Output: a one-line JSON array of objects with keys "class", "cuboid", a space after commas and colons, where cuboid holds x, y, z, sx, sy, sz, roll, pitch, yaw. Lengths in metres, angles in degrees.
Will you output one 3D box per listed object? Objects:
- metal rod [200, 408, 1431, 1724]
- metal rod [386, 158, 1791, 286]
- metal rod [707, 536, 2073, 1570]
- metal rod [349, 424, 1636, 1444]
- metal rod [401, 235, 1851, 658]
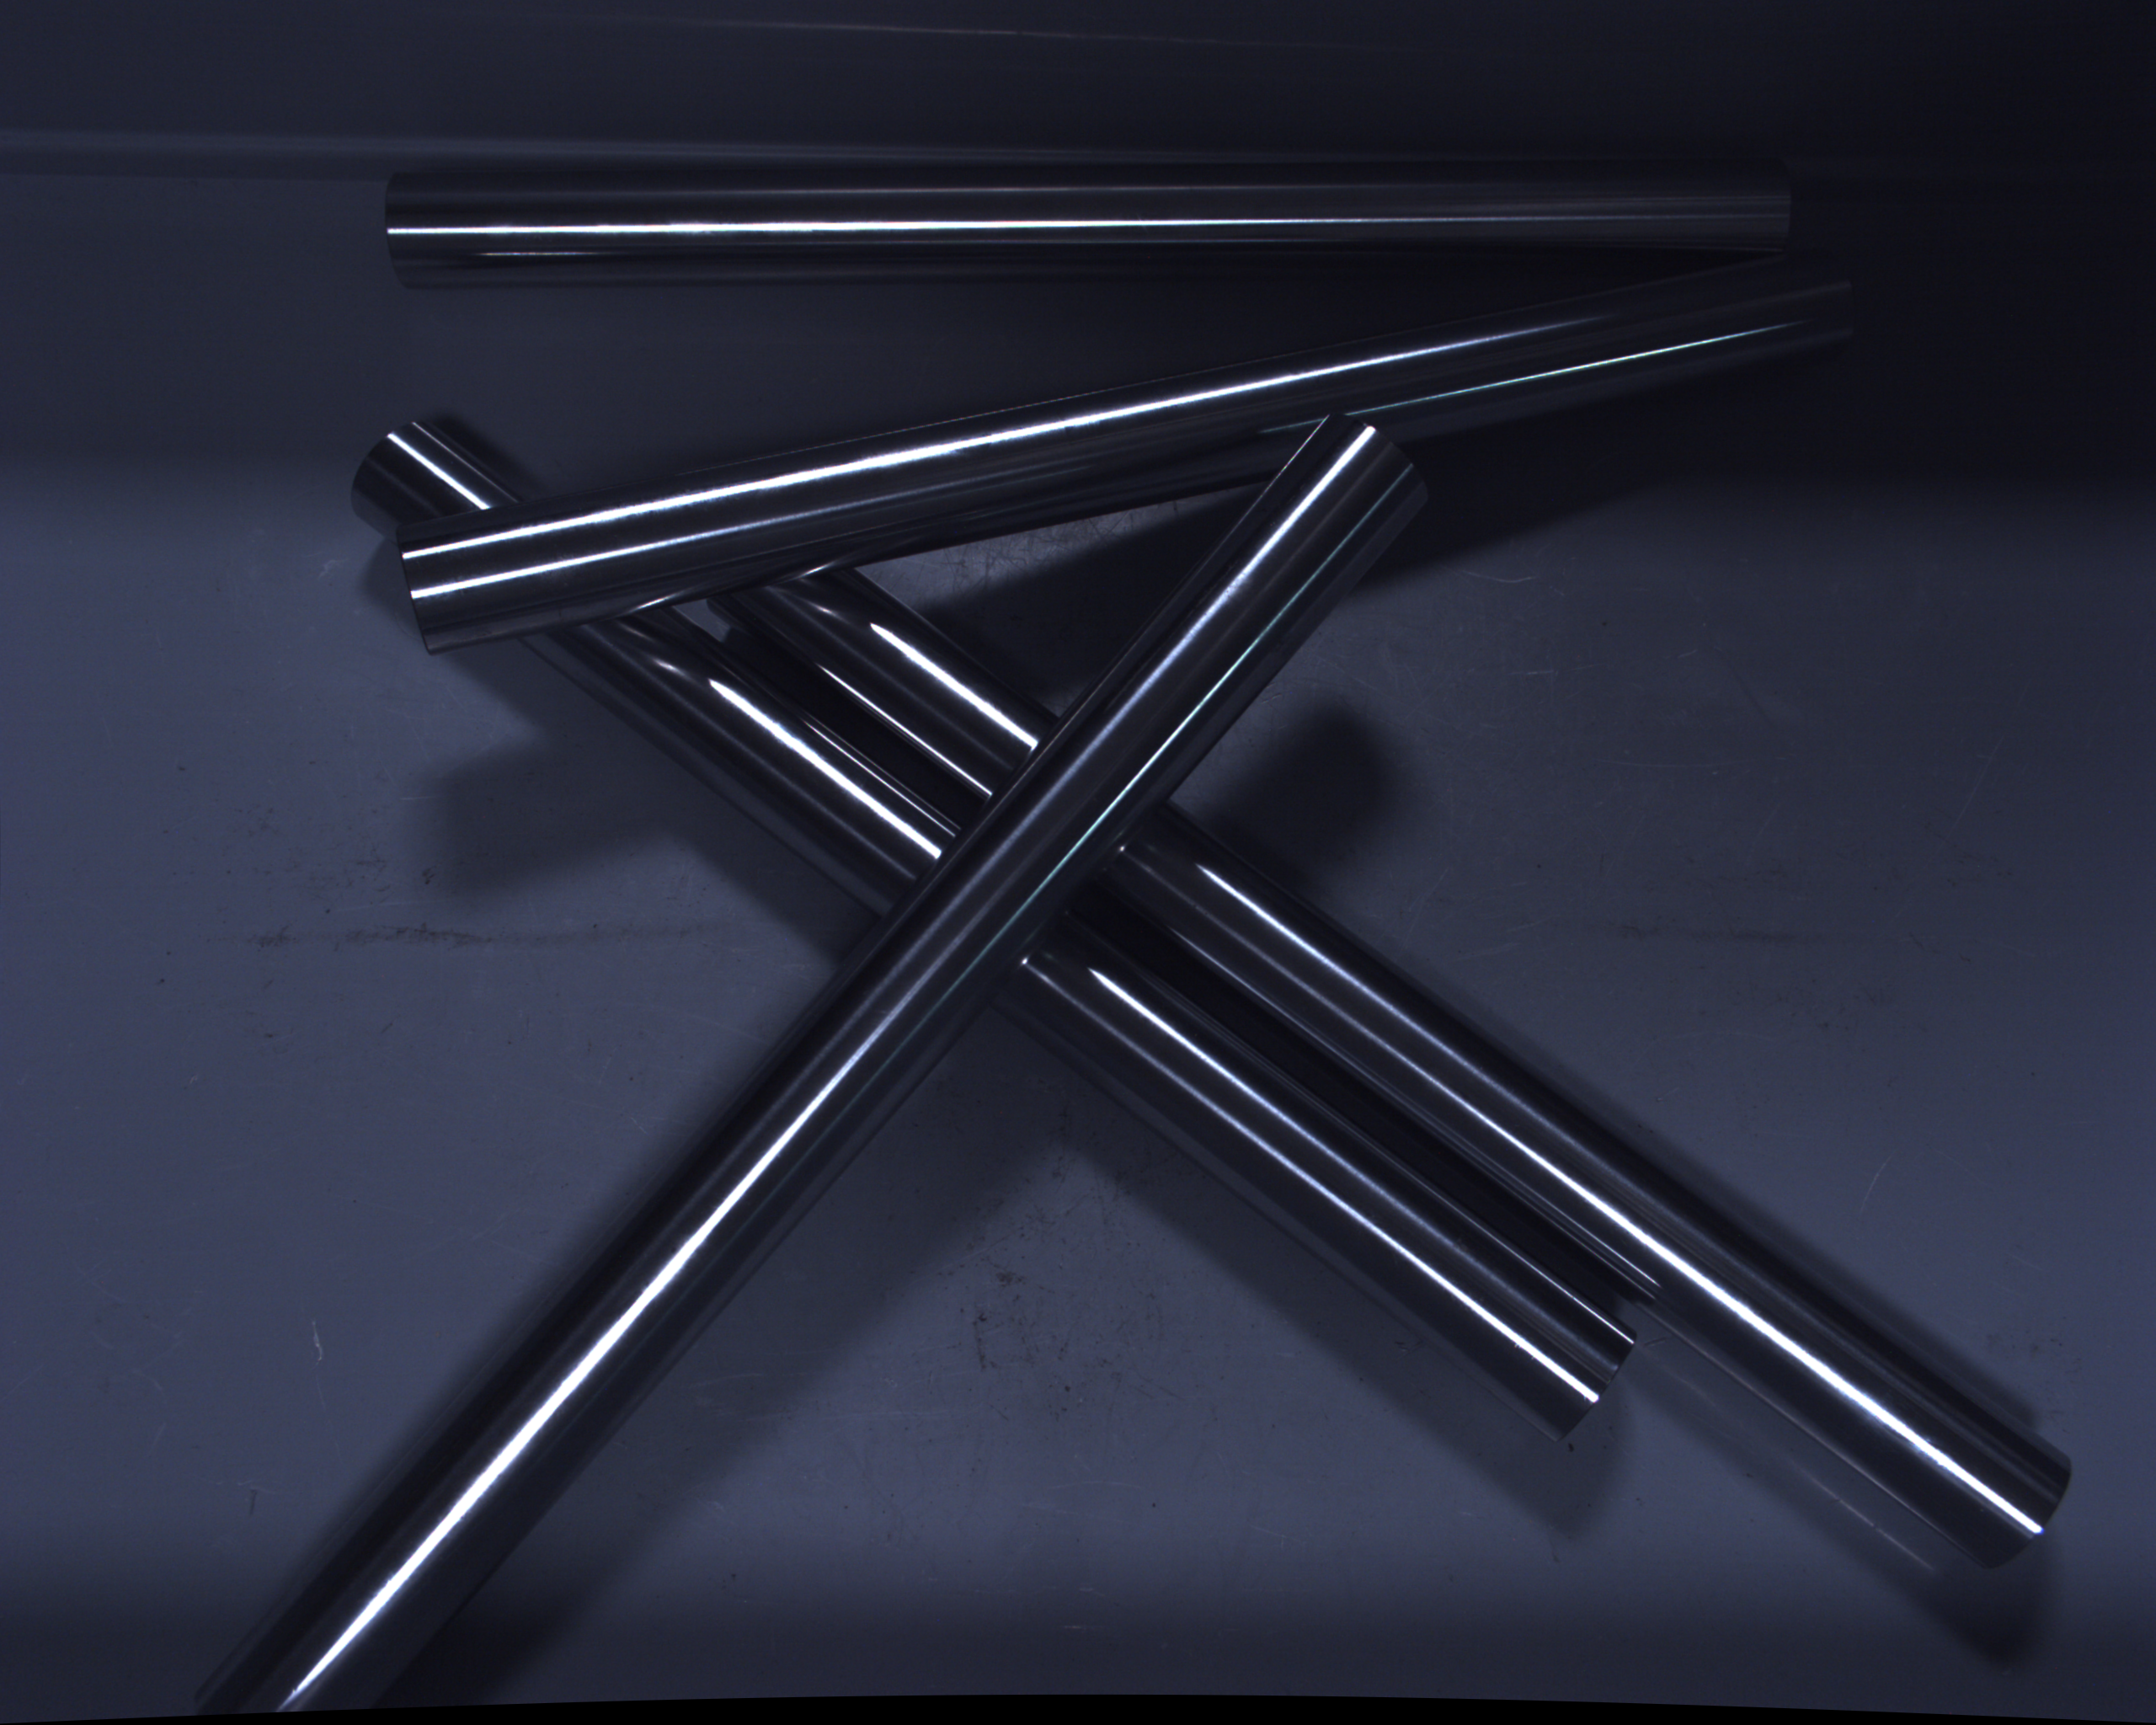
[{"class": "metal rod", "cuboid": [-0.041, 0.035, 0.374, 0.025, 0.025, 0.300, 39, 82, 12]}, {"class": "metal rod", "cuboid": [0.003, -0.141, 0.460, 0.302, 0.025, 0.025, -1, 70, -1]}, {"class": "metal rod", "cuboid": [0.050, 0.027, 0.400, 0.300, 0.025, 0.025, 37, 74, 12]}, {"class": "metal rod", "cuboid": [-0.025, 0.007, 0.406, 0.300, 0.025, 0.025, 37, 74, 12]}, {"class": "metal rod", "cuboid": [0.019, -0.088, 0.425, 0.302, 0.025, 0.025, -15, 71, -12]}]
